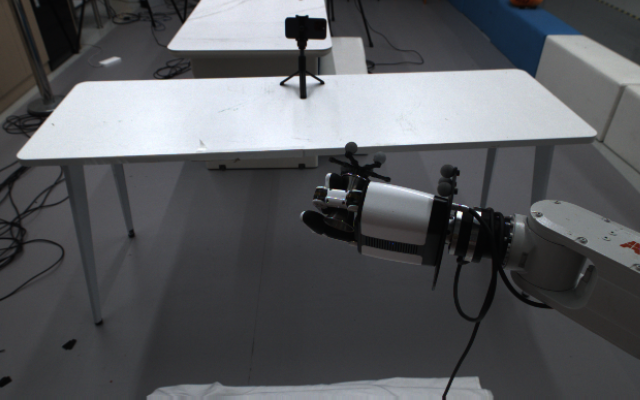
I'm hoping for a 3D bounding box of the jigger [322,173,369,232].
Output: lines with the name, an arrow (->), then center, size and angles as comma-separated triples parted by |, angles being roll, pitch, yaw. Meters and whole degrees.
jigger -> 0.036, 0.001, 0.646 | 0.043, 0.043, 0.071 | 16, 70, 19
